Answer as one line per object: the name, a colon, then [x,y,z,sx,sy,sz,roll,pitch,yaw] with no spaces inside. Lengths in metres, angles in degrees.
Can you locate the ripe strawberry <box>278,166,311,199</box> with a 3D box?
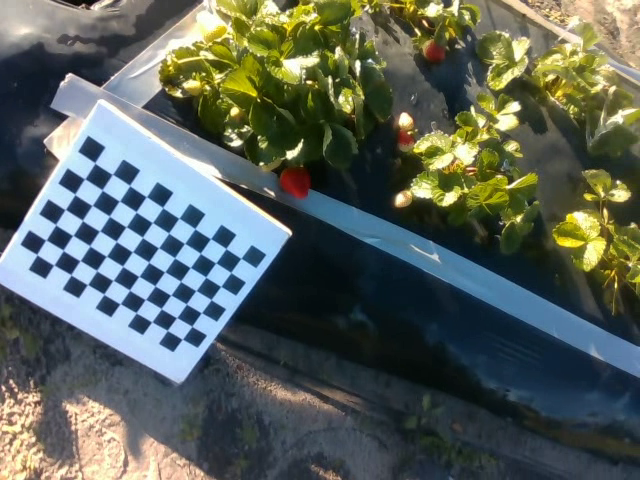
ripe strawberry: [-0.027,-0.075,0.783,0.045,0.064,0.049,-28,-43,6]
